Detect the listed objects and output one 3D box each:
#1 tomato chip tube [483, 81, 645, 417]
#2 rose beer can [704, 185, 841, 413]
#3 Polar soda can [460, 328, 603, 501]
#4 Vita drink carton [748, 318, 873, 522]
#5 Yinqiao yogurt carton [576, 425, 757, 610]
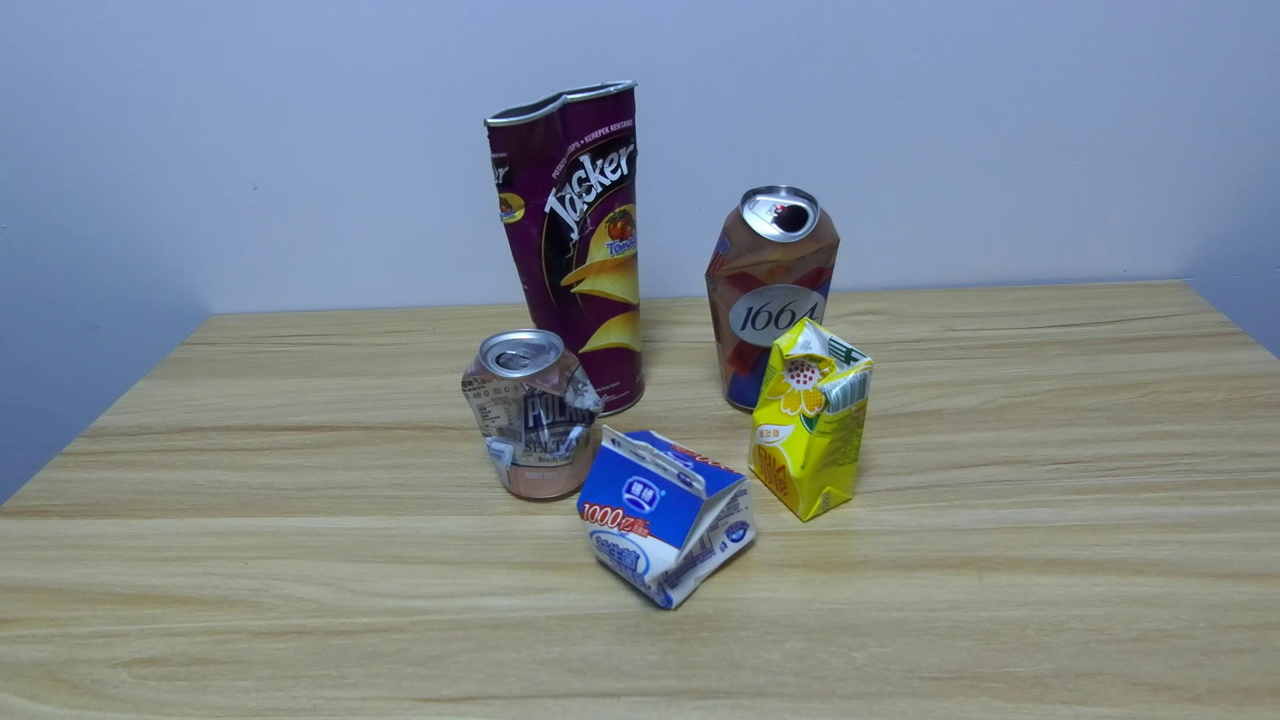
[{"bbox_3d":[-0.043,-0.069,0.514,0.090,0.236,0.078,0,35,4],"label":"tomato chip tube"},{"bbox_3d":[0.094,-0.039,0.508,0.069,0.168,0.069,28,48,34],"label":"rose beer can"},{"bbox_3d":[-0.067,0.036,0.471,0.074,0.114,0.070,-28,43,-26],"label":"Polar soda can"},{"bbox_3d":[0.103,0.037,0.446,0.046,0.110,0.071,-18,35,-21],"label":"Vita drink carton"},{"bbox_3d":[0.012,0.083,0.402,0.074,0.097,0.080,23,51,36],"label":"Yinqiao yogurt carton"}]
